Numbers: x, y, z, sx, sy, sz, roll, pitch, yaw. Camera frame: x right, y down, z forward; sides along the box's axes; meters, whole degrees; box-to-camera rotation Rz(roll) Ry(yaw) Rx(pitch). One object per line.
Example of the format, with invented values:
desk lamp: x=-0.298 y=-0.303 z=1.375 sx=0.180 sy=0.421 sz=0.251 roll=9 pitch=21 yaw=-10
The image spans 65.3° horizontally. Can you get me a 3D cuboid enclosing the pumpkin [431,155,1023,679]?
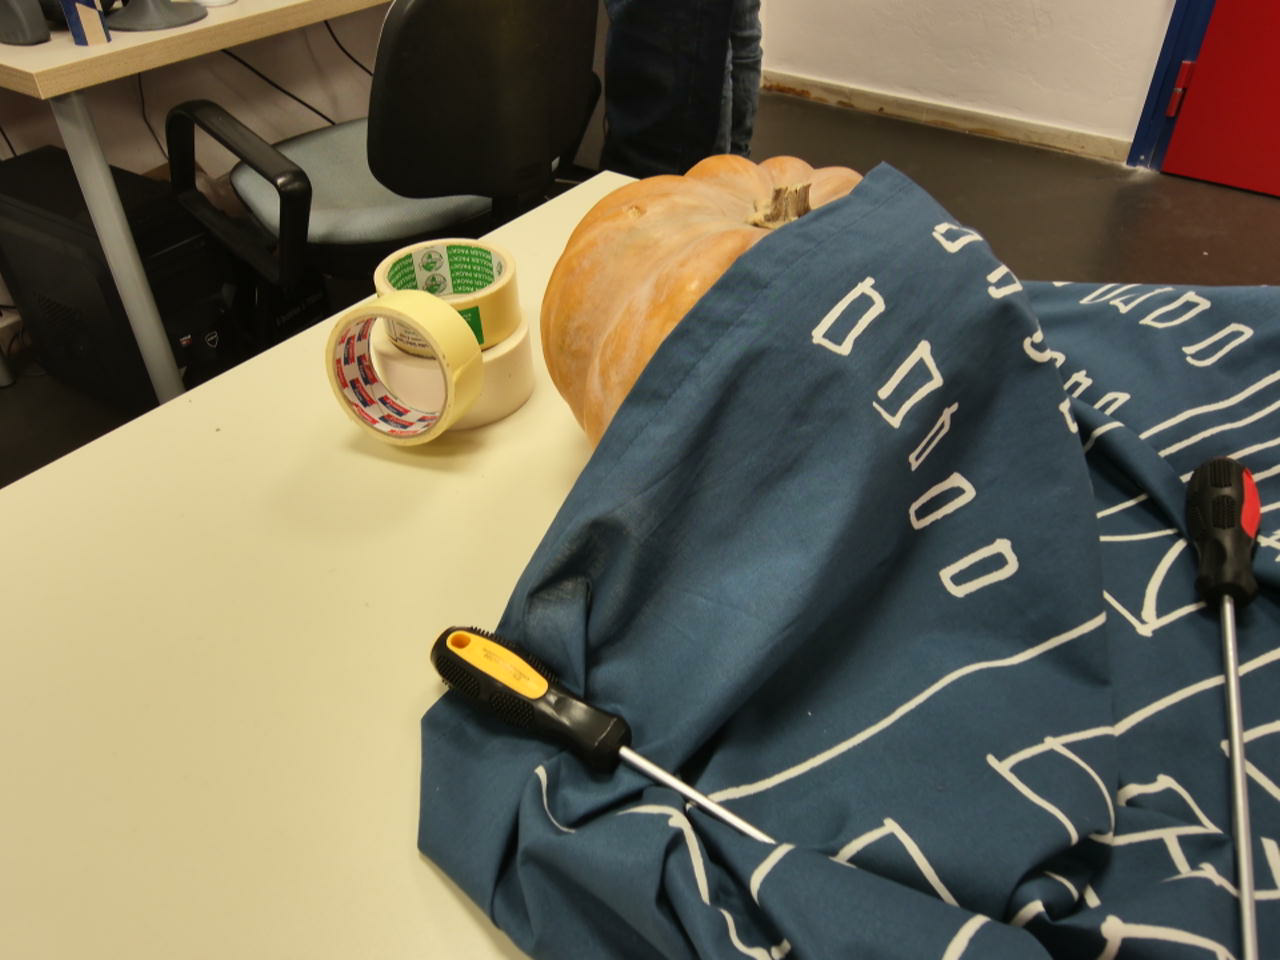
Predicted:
pumpkin: x=0.074 y=-0.084 z=0.583 sx=0.277 sy=0.181 sz=0.277 roll=0 pitch=38 yaw=0
